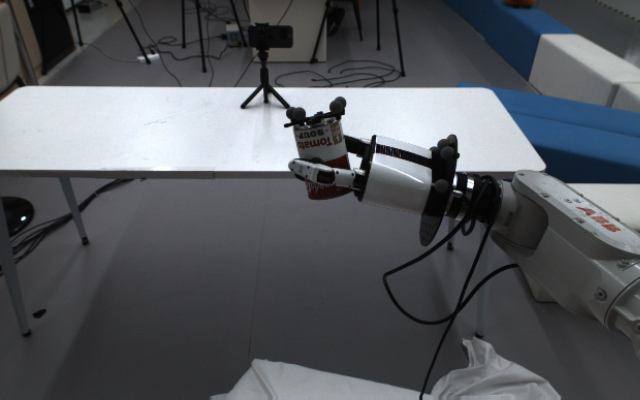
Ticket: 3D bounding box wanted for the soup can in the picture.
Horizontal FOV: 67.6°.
[{"bbox_3d":[0.007,-0.059,0.668,0.067,0.101,0.067,-12,17,4],"label":"soup can"}]
